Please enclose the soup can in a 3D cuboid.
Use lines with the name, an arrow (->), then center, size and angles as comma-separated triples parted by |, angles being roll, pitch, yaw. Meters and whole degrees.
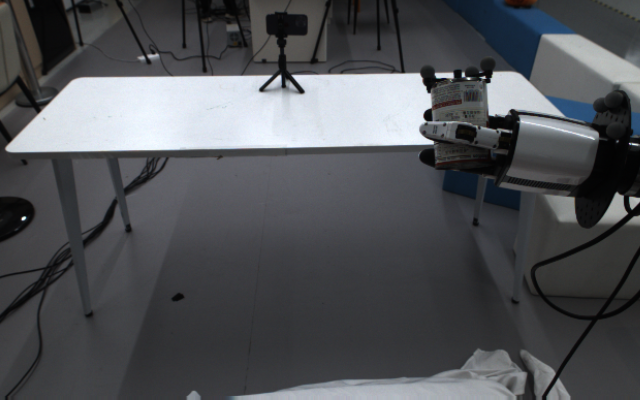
soup can -> 0.173, -0.090, 0.588 | 0.067, 0.101, 0.067 | -3, -1, 0
